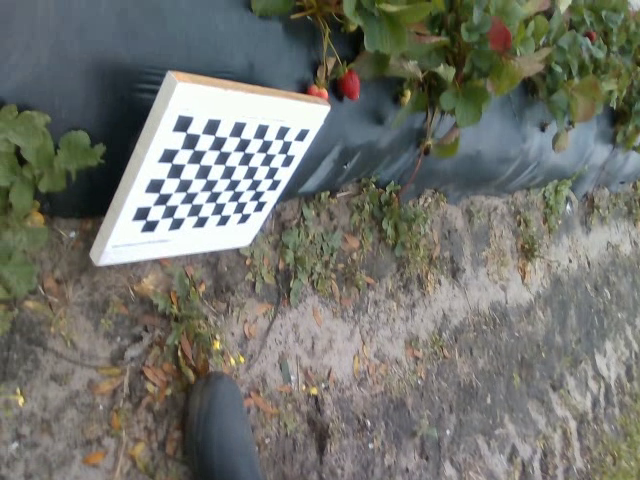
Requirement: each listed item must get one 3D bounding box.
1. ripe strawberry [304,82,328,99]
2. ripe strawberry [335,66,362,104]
[{"bbox_3d":[0.000,-0.208,0.949,0.036,0.041,0.028,2,22,-46],"label":"ripe strawberry"},{"bbox_3d":[0.049,-0.242,1.003,0.044,0.059,0.042,-29,41,-8],"label":"ripe strawberry"}]
